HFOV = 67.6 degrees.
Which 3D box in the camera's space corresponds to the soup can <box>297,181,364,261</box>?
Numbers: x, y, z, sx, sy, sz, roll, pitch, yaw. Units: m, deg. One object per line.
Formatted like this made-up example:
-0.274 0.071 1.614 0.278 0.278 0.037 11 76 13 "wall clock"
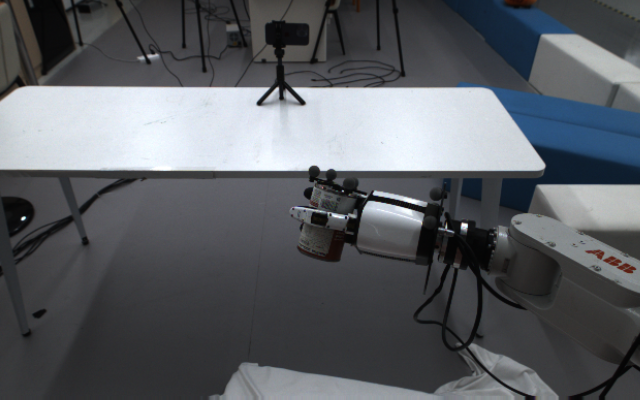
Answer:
0.012 0.033 0.712 0.067 0.101 0.067 15 7 -2 "soup can"
